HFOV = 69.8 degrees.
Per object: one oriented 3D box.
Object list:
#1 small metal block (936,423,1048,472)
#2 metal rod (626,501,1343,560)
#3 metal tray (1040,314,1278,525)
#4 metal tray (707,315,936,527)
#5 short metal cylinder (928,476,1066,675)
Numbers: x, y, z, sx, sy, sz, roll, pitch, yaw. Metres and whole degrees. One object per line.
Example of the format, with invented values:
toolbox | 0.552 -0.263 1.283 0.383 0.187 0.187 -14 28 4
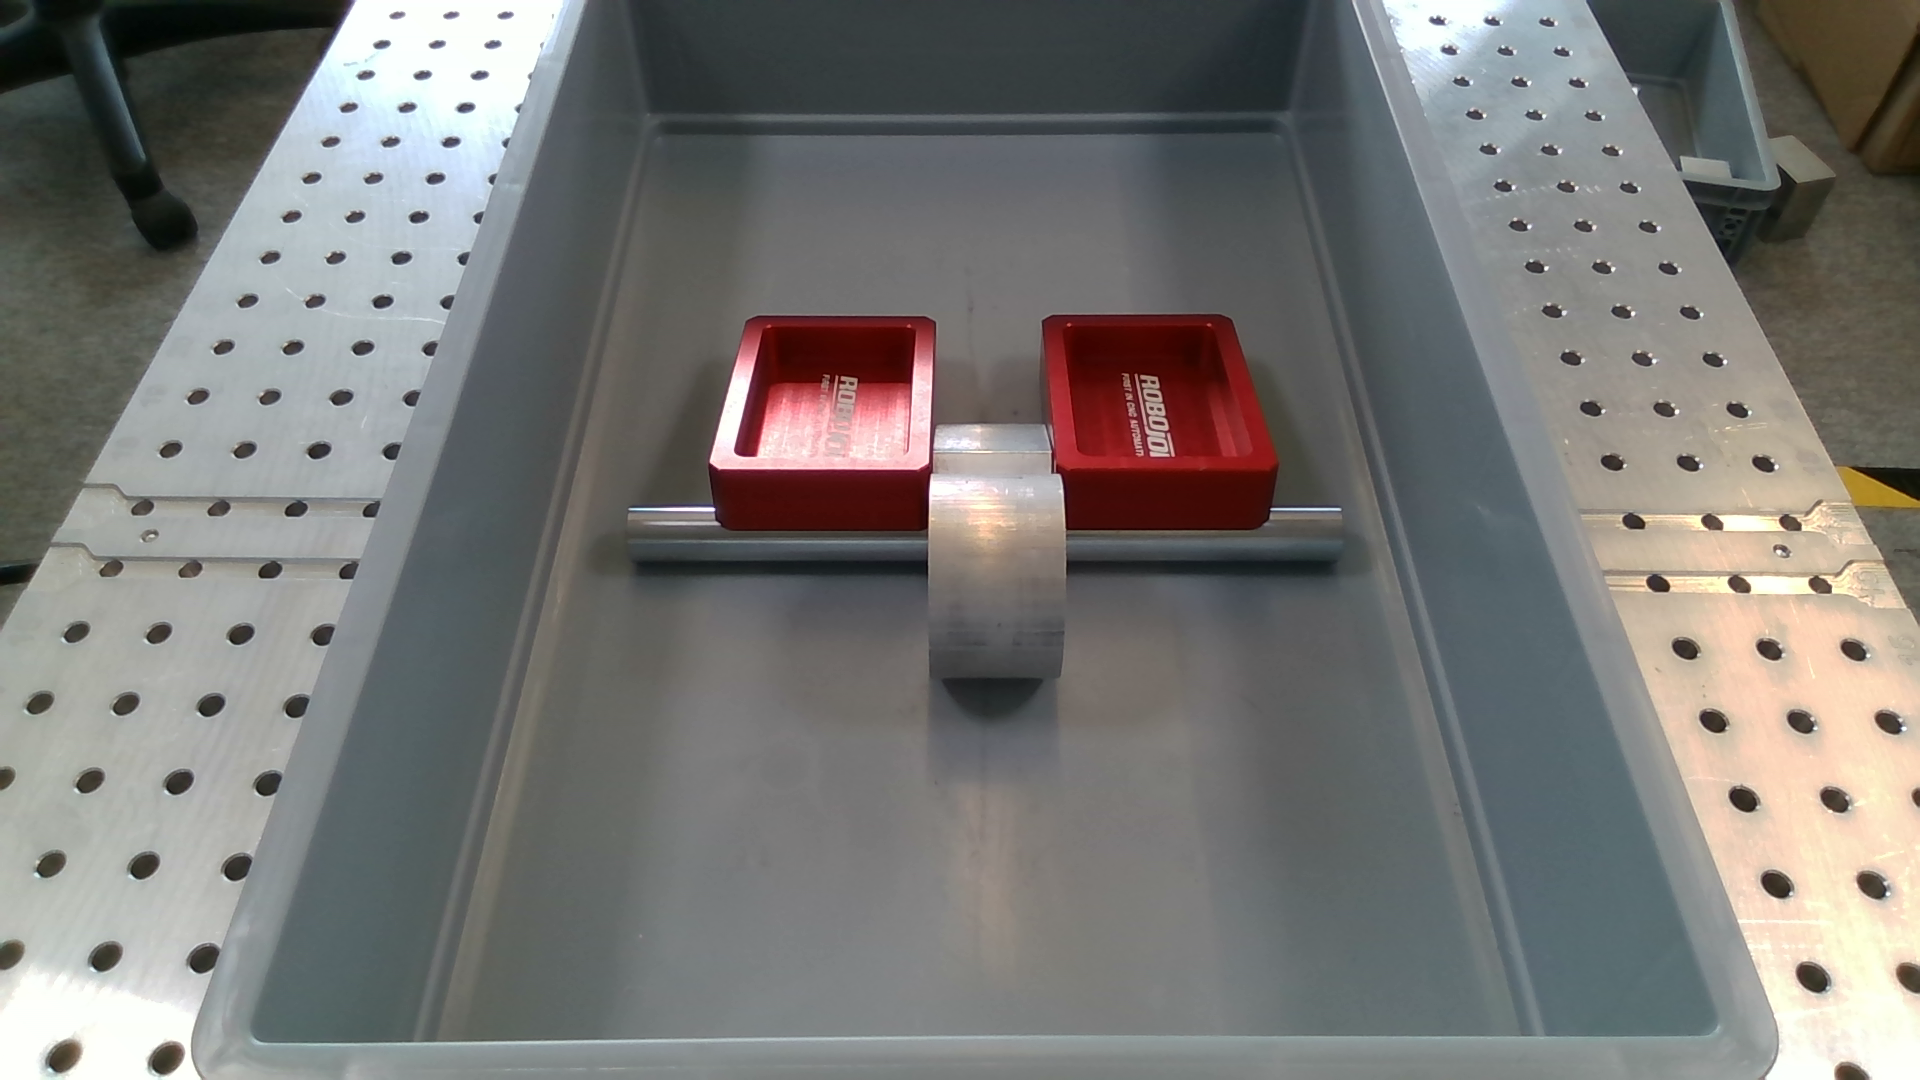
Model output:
small metal block | 0.013 -0.033 0.599 0.050 0.025 0.050 1 19 0
metal rod | 0.010 -0.004 0.588 0.300 0.025 0.025 0 50 0
metal tray | 0.083 -0.057 0.612 0.090 0.030 0.130 0 38 0
metal tray | -0.057 -0.056 0.611 0.090 0.030 0.130 0 38 0
short metal cylinder | 0.013 0.014 0.539 0.050 0.080 0.080 0 50 0
